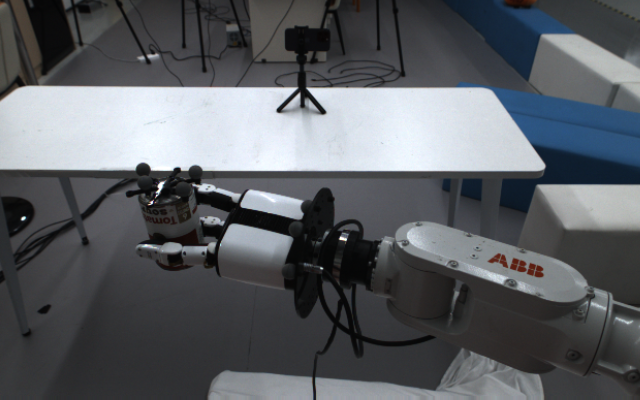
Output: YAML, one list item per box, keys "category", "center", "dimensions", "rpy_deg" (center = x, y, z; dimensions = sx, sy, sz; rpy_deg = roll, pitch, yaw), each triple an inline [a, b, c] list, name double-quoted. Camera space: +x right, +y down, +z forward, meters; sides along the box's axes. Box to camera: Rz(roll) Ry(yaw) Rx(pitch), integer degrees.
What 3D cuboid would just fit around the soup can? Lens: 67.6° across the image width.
- category: "soup can"
  center: [-0.185, 0.031, 0.618]
  dimensions: [0.067, 0.101, 0.067]
  rpy_deg: [-2, 33, 1]
